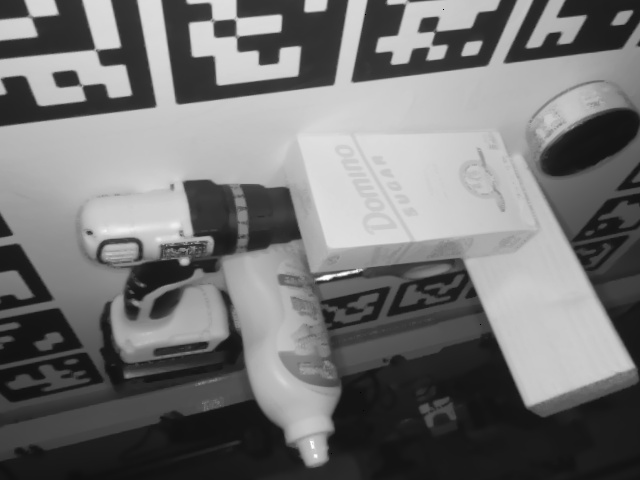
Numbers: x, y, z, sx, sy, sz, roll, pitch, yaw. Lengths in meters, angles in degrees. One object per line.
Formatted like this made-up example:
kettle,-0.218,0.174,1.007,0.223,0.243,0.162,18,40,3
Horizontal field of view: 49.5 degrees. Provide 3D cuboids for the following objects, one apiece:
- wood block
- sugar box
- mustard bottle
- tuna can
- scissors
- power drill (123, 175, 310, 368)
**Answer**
wood block,0.202,0.038,0.611,0.090,0.207,0.090,-27,143,12
sugar box,0.074,-0.037,0.533,0.178,0.093,0.044,-2,145,-20
mustard bottle,-0.013,0.095,0.597,0.058,0.192,0.097,-35,141,21
tuna can,0.229,-0.090,0.576,0.086,0.034,0.085,-12,144,-8
scissors,0.099,0.045,0.721,0.205,0.016,0.087,-9,148,-14
power drill,-0.072,0.027,0.580,0.187,0.057,0.184,-2,135,-23
